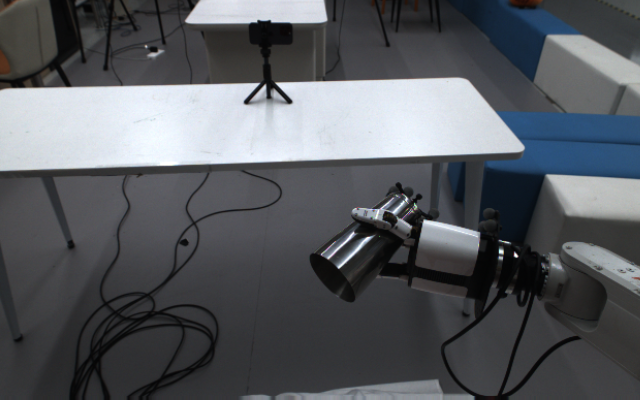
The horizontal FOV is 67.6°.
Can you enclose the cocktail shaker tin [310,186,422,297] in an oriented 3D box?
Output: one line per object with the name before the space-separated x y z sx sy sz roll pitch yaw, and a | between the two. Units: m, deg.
cocktail shaker tin | 0.076 0.058 0.730 0.170 0.093 0.093 -38 50 -24
